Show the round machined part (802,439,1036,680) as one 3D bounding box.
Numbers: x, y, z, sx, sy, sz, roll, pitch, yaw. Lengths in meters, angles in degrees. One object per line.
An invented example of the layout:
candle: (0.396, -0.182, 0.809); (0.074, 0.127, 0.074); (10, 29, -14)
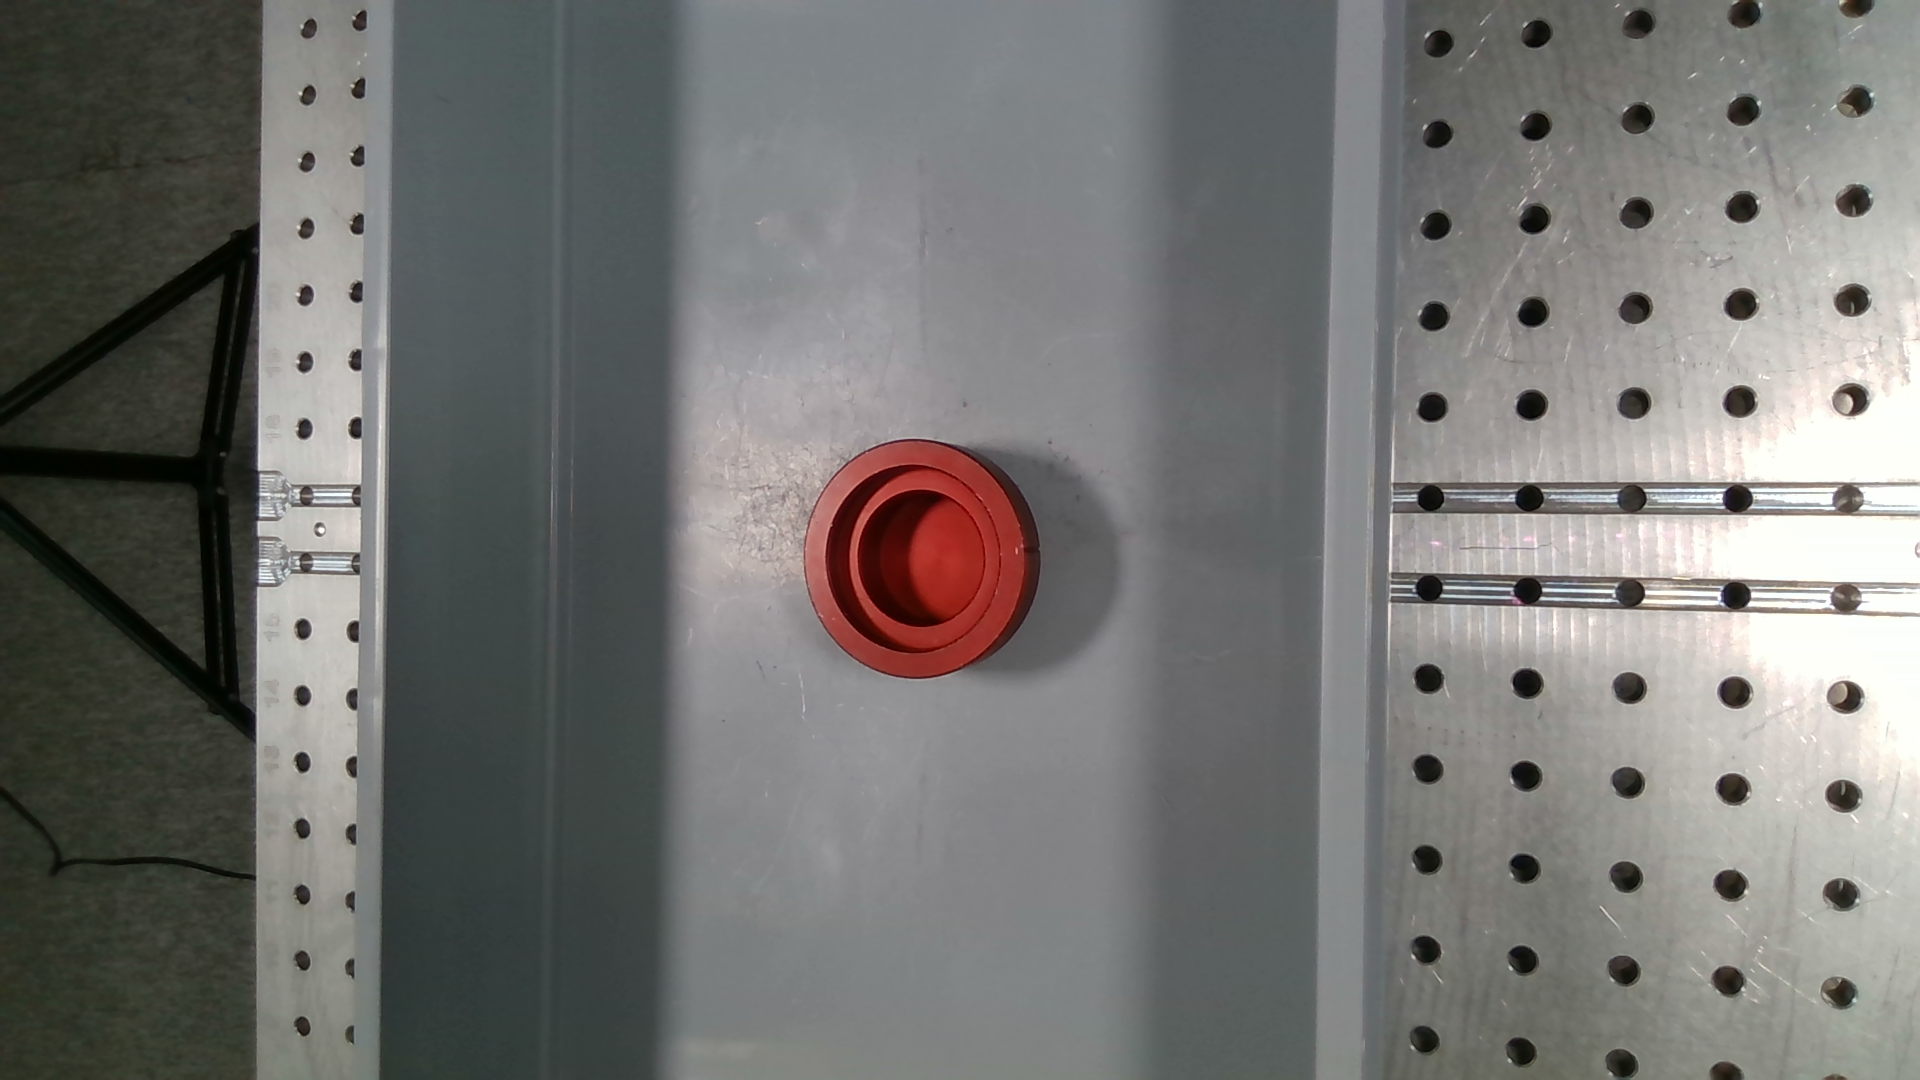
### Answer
round machined part: (-0.013, 0.008, 0.578); (0.098, 0.042, 0.098); (0, 91, 20)
